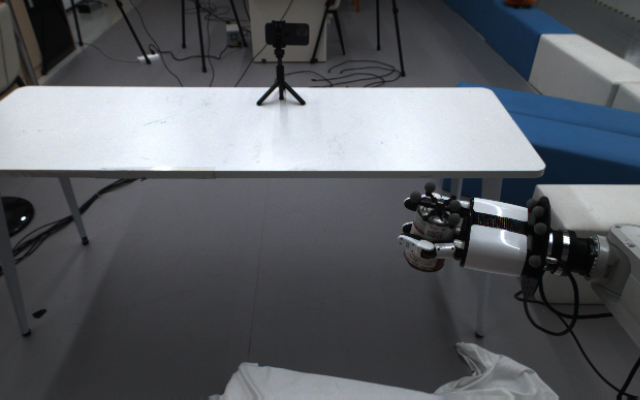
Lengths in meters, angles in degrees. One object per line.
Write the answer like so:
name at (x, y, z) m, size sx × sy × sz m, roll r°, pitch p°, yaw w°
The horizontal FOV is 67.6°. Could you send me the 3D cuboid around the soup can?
soup can at (0.179, 0.056, 0.775) m, size 0.067 × 0.101 × 0.067 m, roll 5°, pitch 37°, yaw -4°
